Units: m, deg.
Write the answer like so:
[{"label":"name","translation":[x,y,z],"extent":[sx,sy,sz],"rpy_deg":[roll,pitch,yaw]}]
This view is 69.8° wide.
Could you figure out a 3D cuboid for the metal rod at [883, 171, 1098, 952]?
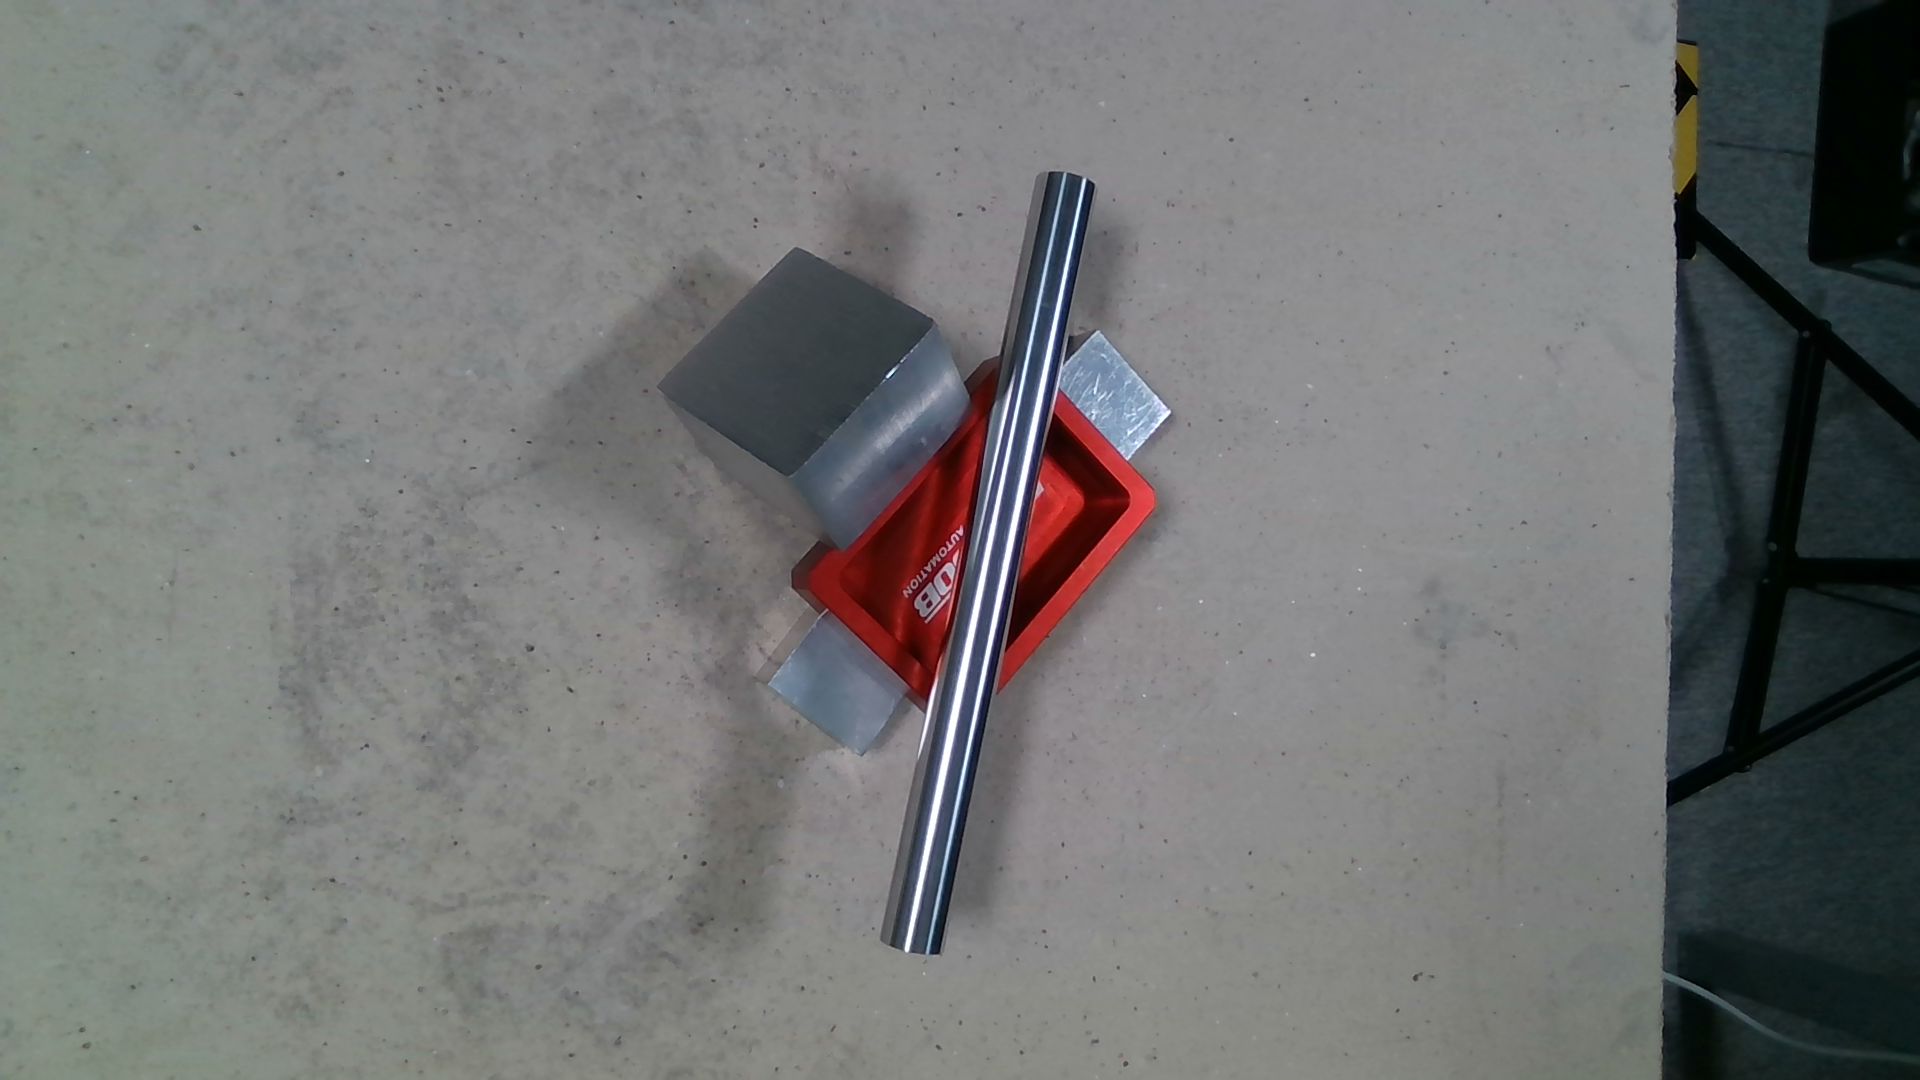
[{"label":"metal rod","translation":[0.012,0.006,0.532],"extent":[0.025,0.025,0.300],"rpy_deg":[13,86,-20]}]

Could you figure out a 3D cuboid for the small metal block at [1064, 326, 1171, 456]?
[{"label":"small metal block","translation":[0.055,-0.057,0.606],"extent":[0.050,0.025,0.050],"rpy_deg":[46,76,-14]}]

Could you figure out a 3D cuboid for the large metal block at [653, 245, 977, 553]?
[{"label":"large metal block","translation":[-0.055,-0.055,0.527],"extent":[0.080,0.080,0.050],"rpy_deg":[-49,147,-14]}]

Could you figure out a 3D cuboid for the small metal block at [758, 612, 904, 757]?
[{"label":"small metal block","translation":[-0.048,0.053,0.568],"extent":[0.050,0.025,0.050],"rpy_deg":[40,77,-16]}]

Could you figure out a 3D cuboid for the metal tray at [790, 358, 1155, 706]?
[{"label":"metal tray","translation":[0.007,-0.001,0.558],"extent":[0.090,0.030,0.130],"rpy_deg":[46,76,-15]}]
